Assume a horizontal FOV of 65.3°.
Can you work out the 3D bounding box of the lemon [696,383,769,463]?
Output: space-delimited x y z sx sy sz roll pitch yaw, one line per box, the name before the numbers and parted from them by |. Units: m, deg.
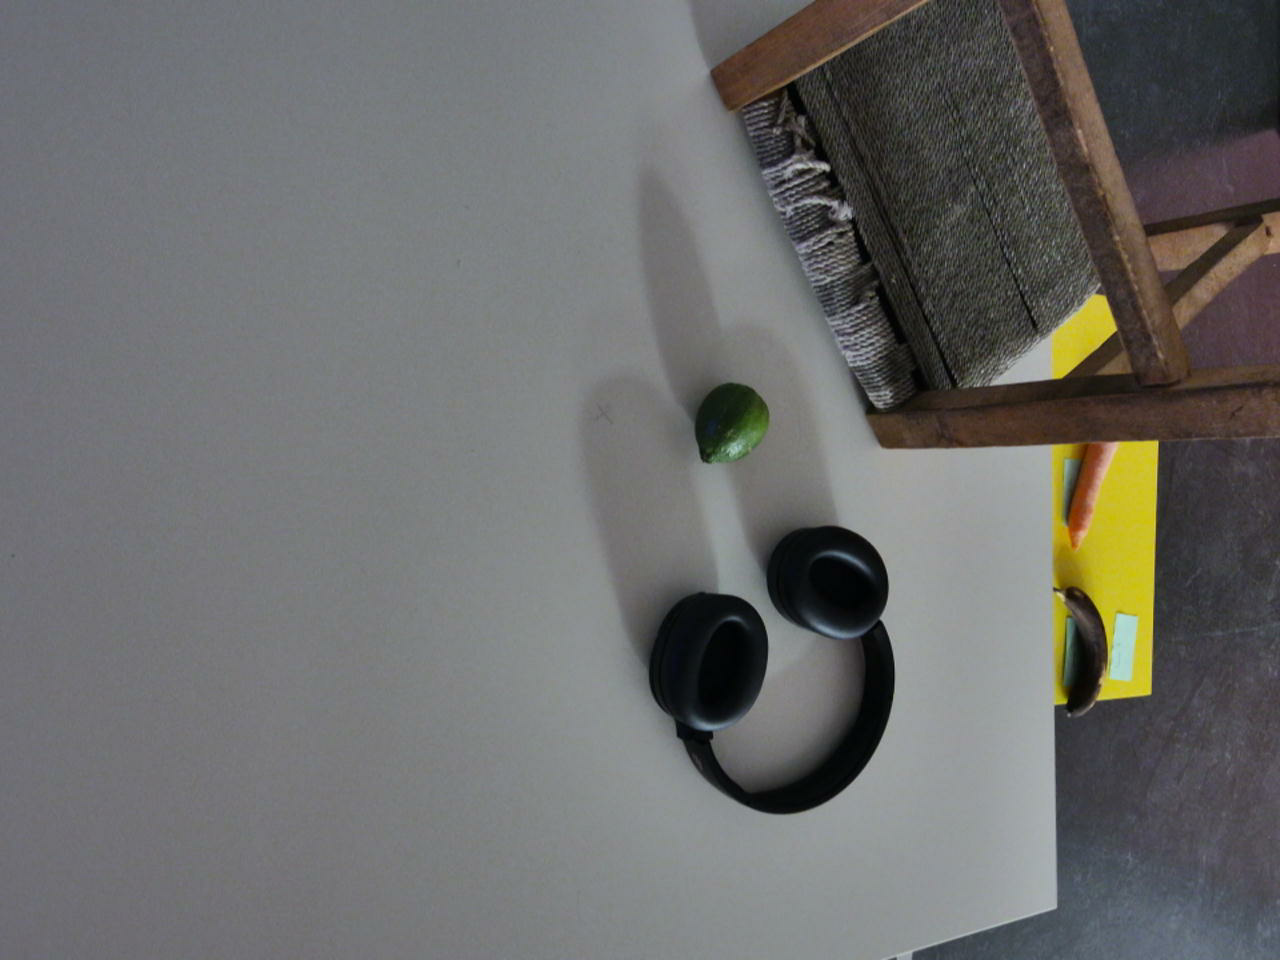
lemon | 0.068 -0.042 0.728 0.054 0.051 0.057 -6 93 -28
